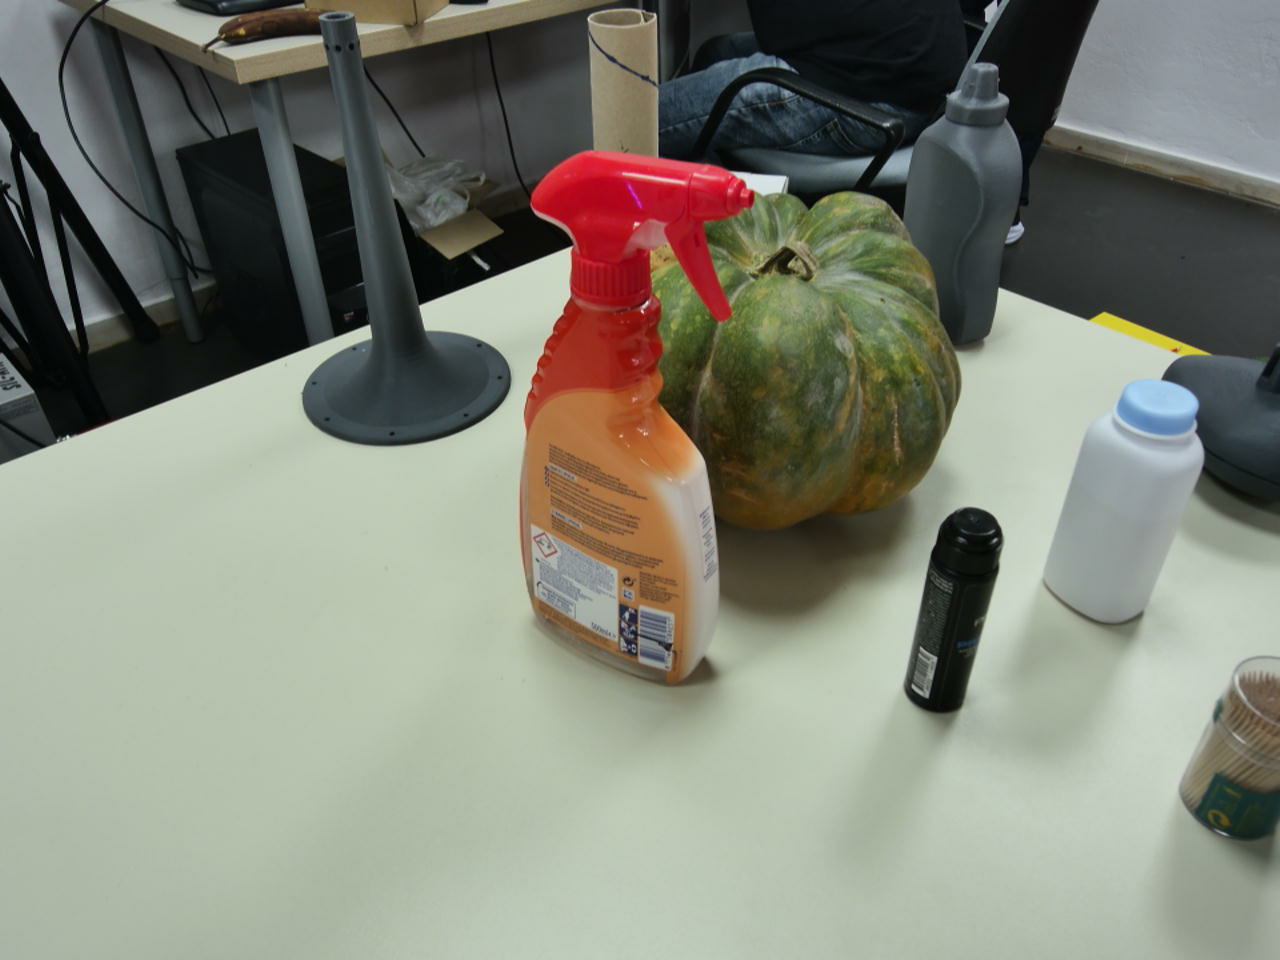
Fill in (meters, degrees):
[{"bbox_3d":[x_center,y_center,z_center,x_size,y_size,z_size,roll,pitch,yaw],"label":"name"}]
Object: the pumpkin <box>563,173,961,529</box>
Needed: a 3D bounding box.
[{"bbox_3d":[0.073,-0.083,0.606,0.237,0.173,0.270,-2,37,-3],"label":"pumpkin"}]
